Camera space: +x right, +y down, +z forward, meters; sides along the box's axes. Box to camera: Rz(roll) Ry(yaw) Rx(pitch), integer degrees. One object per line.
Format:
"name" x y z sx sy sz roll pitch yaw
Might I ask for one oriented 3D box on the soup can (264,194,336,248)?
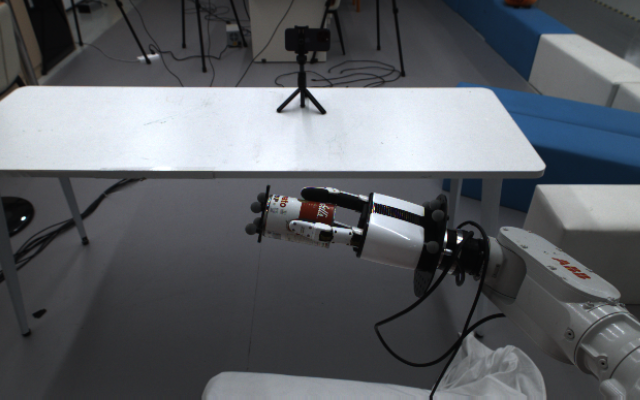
"soup can" -0.029 0.032 0.733 0.101 0.067 0.067 10 35 0
